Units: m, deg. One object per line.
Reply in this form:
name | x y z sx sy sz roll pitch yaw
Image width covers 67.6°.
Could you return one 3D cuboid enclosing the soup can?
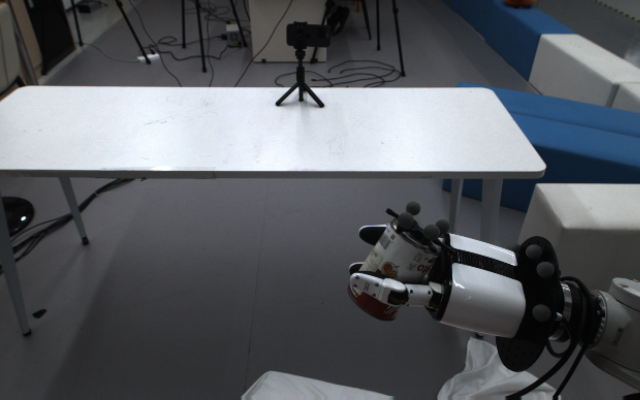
soup can | 0.087 0.081 0.565 0.067 0.101 0.067 27 18 -9
